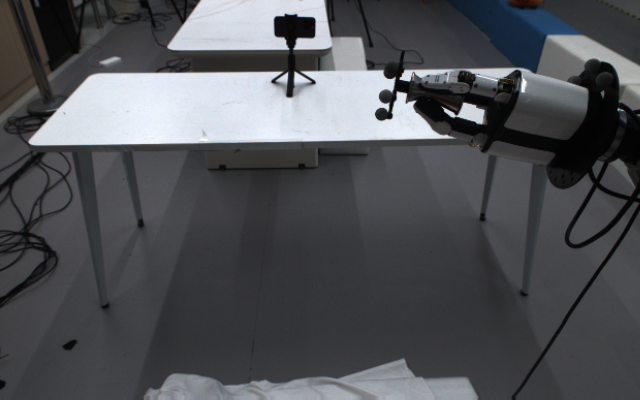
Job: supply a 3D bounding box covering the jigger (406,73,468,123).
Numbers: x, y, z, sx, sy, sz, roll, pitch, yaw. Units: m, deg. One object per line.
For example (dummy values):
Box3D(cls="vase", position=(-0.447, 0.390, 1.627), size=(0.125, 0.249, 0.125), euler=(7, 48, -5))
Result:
Box3D(cls="jigger", position=(0.151, -0.143, 0.623), size=(0.071, 0.043, 0.043), euler=(13, 36, 3))
